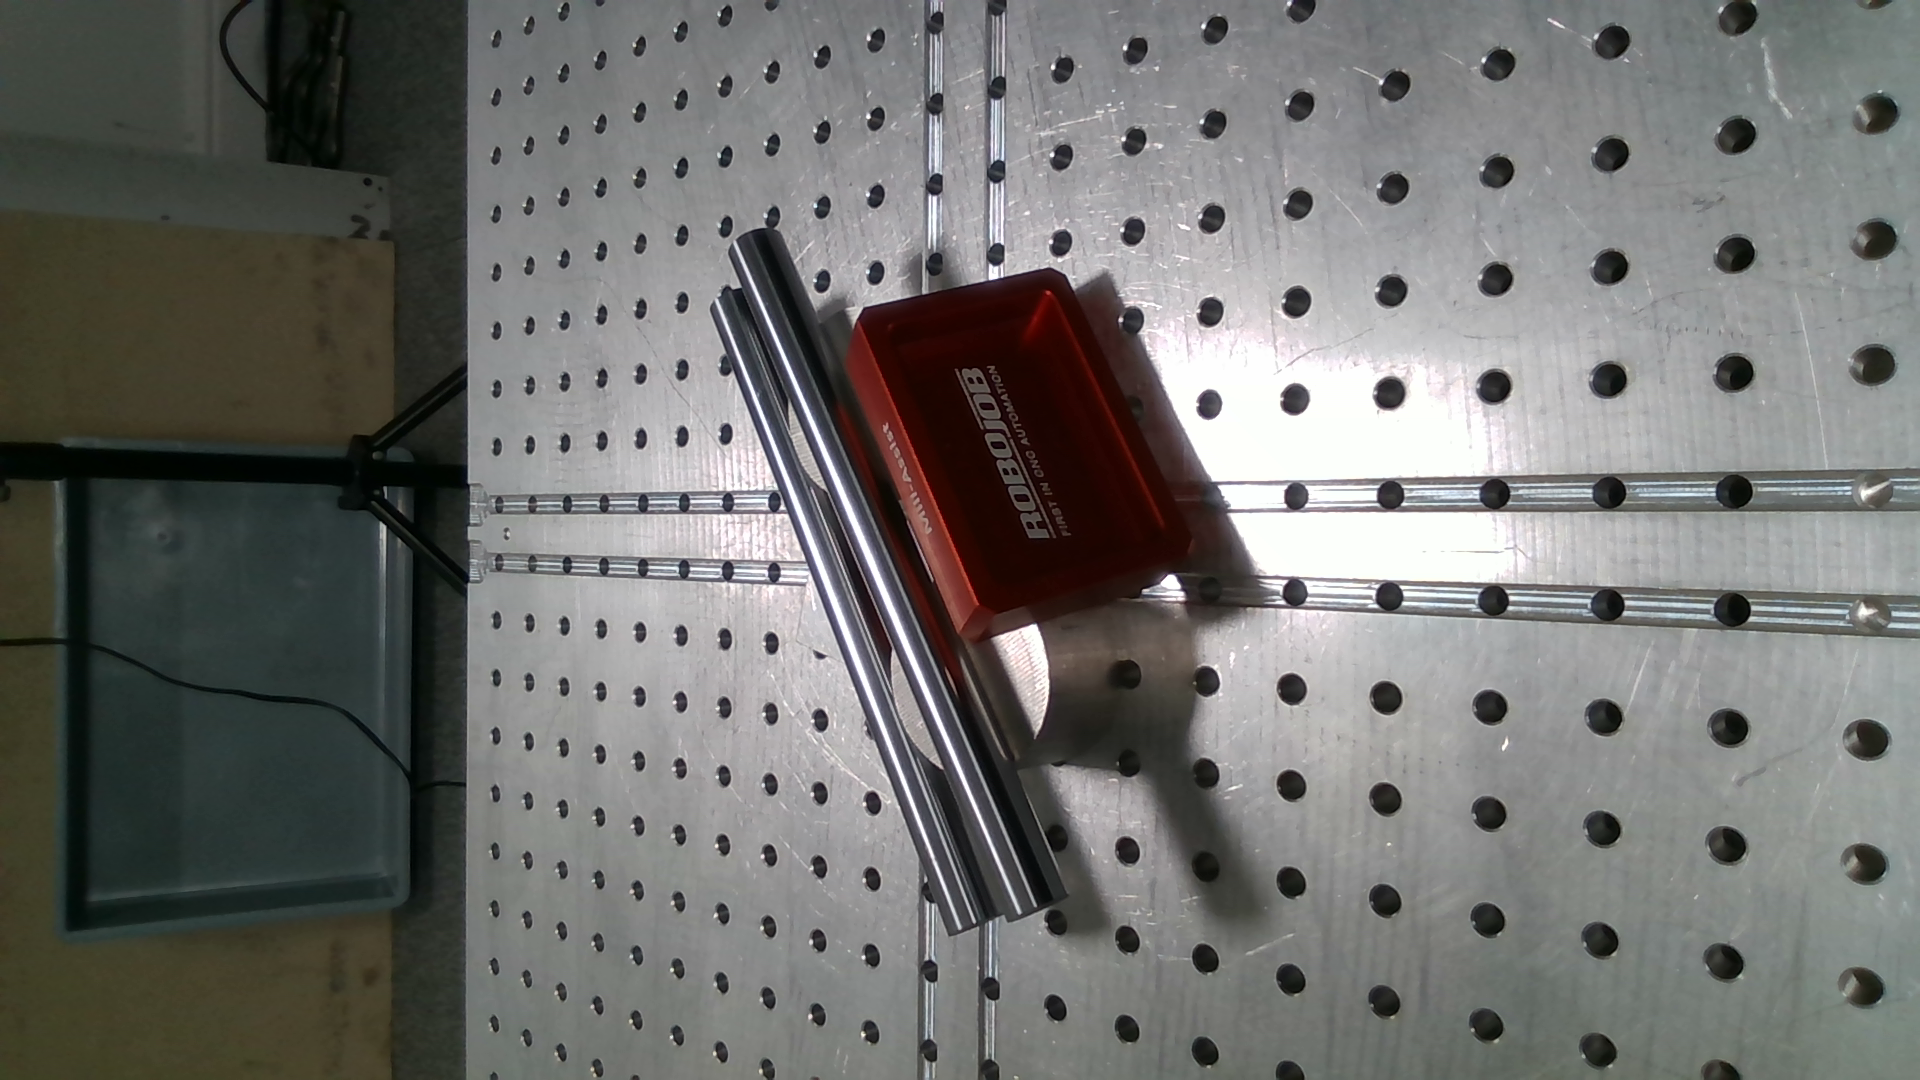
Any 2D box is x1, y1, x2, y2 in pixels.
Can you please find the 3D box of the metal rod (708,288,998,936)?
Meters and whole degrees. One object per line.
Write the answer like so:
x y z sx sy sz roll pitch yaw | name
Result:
-0.049 0.021 0.593 0.025 0.025 0.299 -36 68 35 | metal rod

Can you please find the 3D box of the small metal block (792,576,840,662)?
-0.046 0.029 0.623 0.050 0.025 0.050 19 103 39 | small metal block

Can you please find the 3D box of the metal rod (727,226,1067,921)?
-0.030 0.003 0.544 0.025 0.025 0.299 -37 67 34 | metal rod

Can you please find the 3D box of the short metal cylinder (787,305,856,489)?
-0.029 -0.058 0.592 0.080 0.050 0.080 0 91 40 | short metal cylinder

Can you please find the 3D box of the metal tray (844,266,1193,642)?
0.020 -0.036 0.523 0.030 0.090 0.130 119 131 -62 | metal tray

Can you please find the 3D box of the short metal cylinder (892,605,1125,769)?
0.019 0.052 0.554 0.080 0.050 0.080 0 91 40 | short metal cylinder
